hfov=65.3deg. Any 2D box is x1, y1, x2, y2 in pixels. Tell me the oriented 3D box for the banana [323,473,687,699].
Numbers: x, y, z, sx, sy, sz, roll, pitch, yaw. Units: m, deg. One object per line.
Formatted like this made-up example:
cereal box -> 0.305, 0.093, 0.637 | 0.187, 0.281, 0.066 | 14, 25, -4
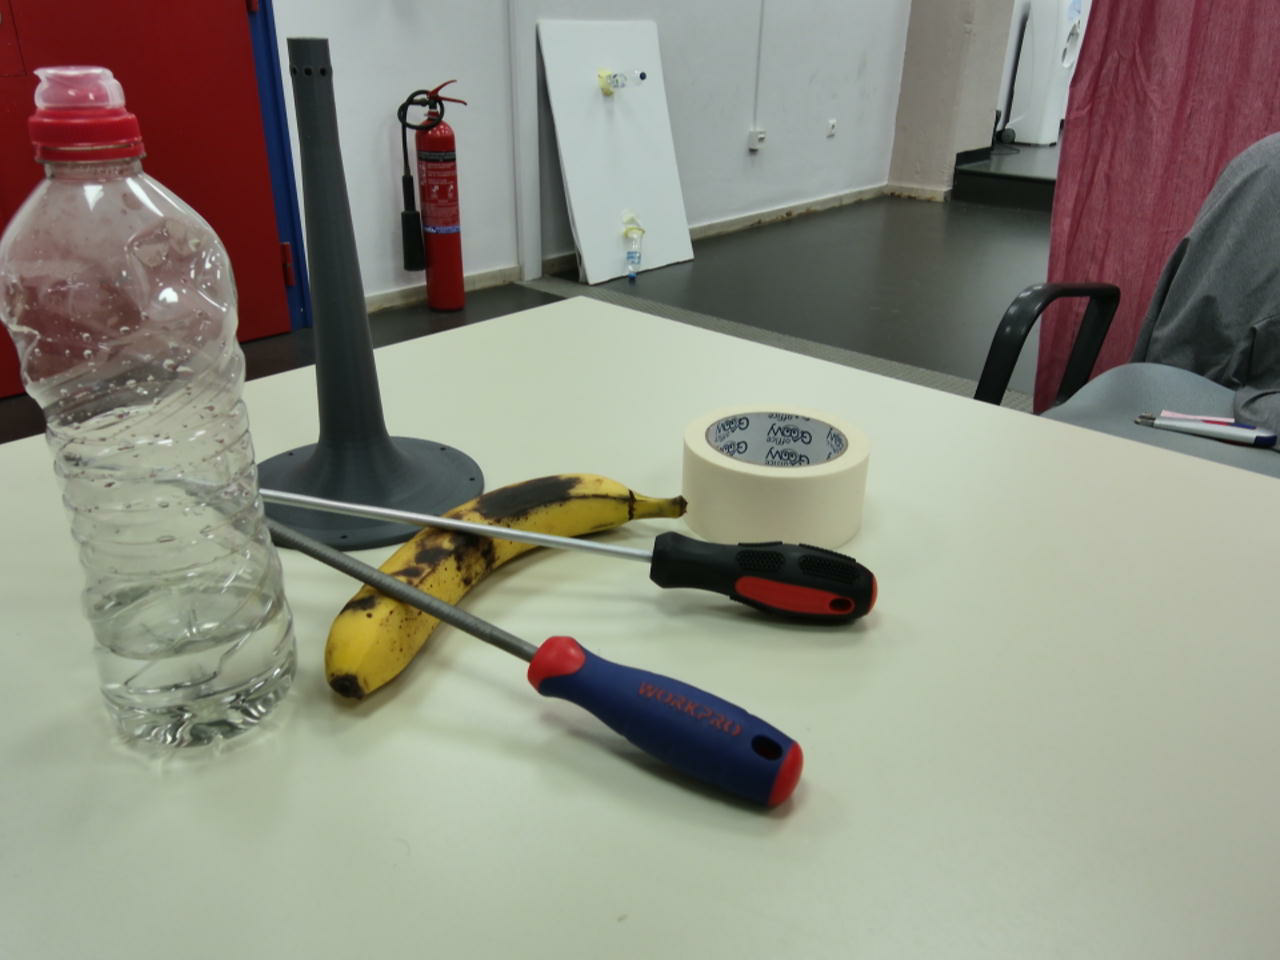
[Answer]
banana -> -0.076, 0.038, 0.498 | 0.084, 0.037, 0.222 | 21, 30, 36
